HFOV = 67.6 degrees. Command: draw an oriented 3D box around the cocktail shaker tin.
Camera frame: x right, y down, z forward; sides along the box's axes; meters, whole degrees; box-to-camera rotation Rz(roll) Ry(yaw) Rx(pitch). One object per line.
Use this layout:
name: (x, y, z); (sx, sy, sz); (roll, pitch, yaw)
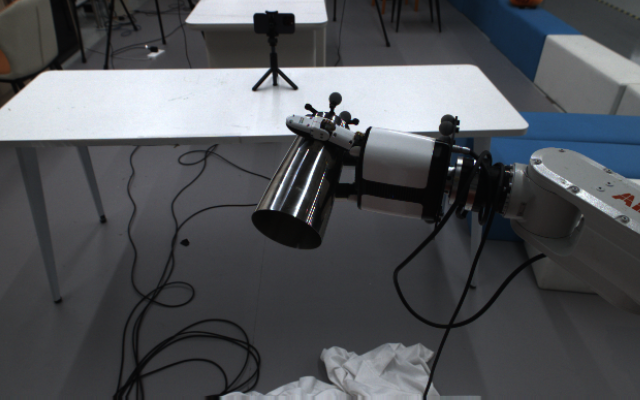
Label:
cocktail shaker tin: (-0.015, -0.034, 0.633); (0.093, 0.093, 0.170); (13, 59, 16)
